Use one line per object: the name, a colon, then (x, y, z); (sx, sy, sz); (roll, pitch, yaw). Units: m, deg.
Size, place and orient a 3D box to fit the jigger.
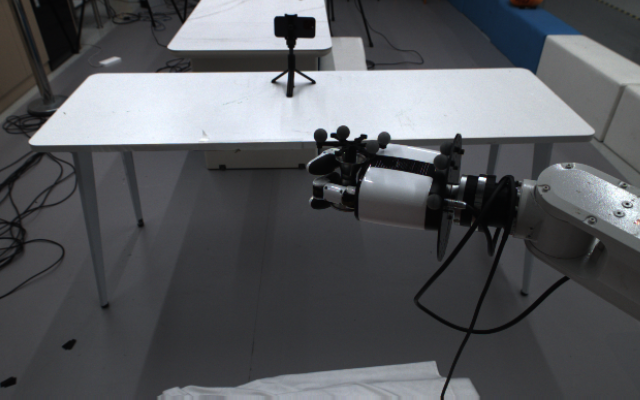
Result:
jigger: (0.041, -0.025, 0.640); (0.043, 0.071, 0.043); (3, 25, -1)
